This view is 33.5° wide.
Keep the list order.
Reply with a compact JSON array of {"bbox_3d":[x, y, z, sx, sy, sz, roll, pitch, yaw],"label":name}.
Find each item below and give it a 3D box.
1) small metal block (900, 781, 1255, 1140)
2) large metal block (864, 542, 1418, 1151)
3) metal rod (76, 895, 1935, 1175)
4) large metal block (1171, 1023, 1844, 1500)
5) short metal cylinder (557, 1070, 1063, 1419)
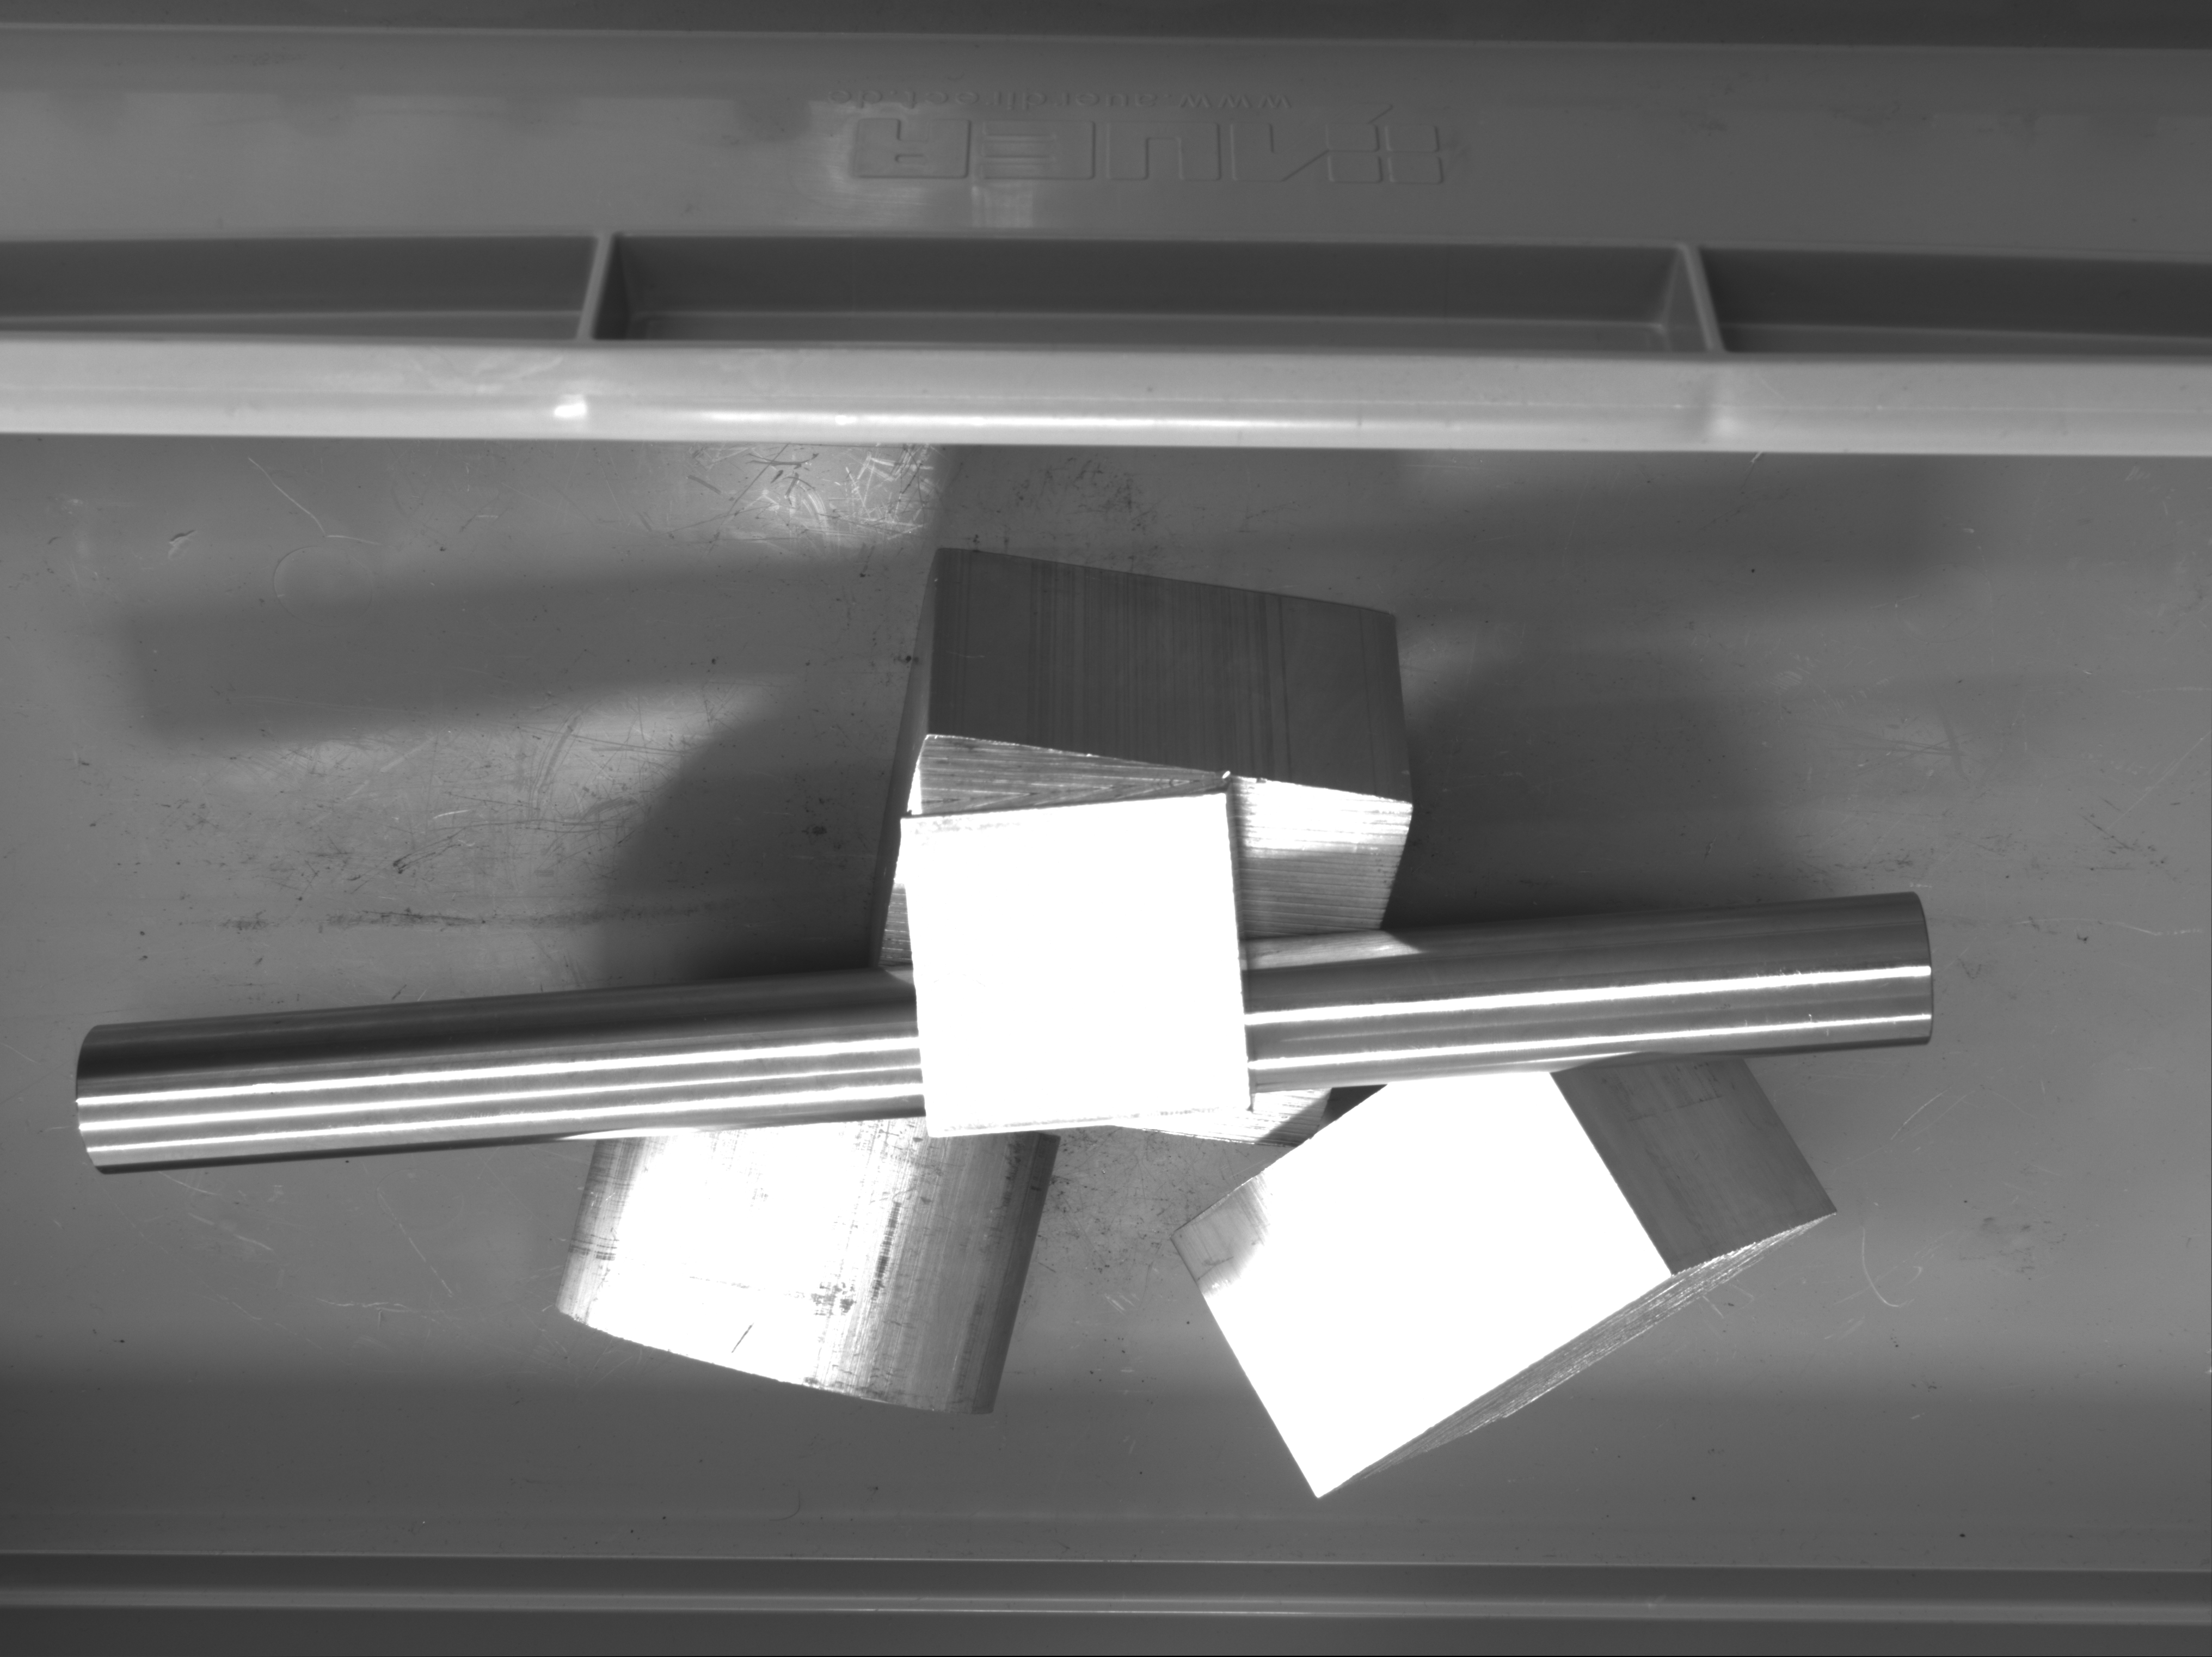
[{"bbox_3d":[-0.004,0.020,0.574,0.050,0.025,0.050,-4,95,4],"label":"small metal block"},{"bbox_3d":[0.003,0.004,0.625,0.080,0.050,0.080,8,129,-7],"label":"large metal block"},{"bbox_3d":[-0.018,0.034,0.601,0.300,0.025,0.025,-4,130,4],"label":"metal rod"},{"bbox_3d":[0.072,0.071,0.653,0.080,0.050,0.080,-38,164,27],"label":"large metal block"},{"bbox_3d":[-0.053,0.070,0.653,0.080,0.080,0.050,15,86,-12],"label":"short metal cylinder"}]
